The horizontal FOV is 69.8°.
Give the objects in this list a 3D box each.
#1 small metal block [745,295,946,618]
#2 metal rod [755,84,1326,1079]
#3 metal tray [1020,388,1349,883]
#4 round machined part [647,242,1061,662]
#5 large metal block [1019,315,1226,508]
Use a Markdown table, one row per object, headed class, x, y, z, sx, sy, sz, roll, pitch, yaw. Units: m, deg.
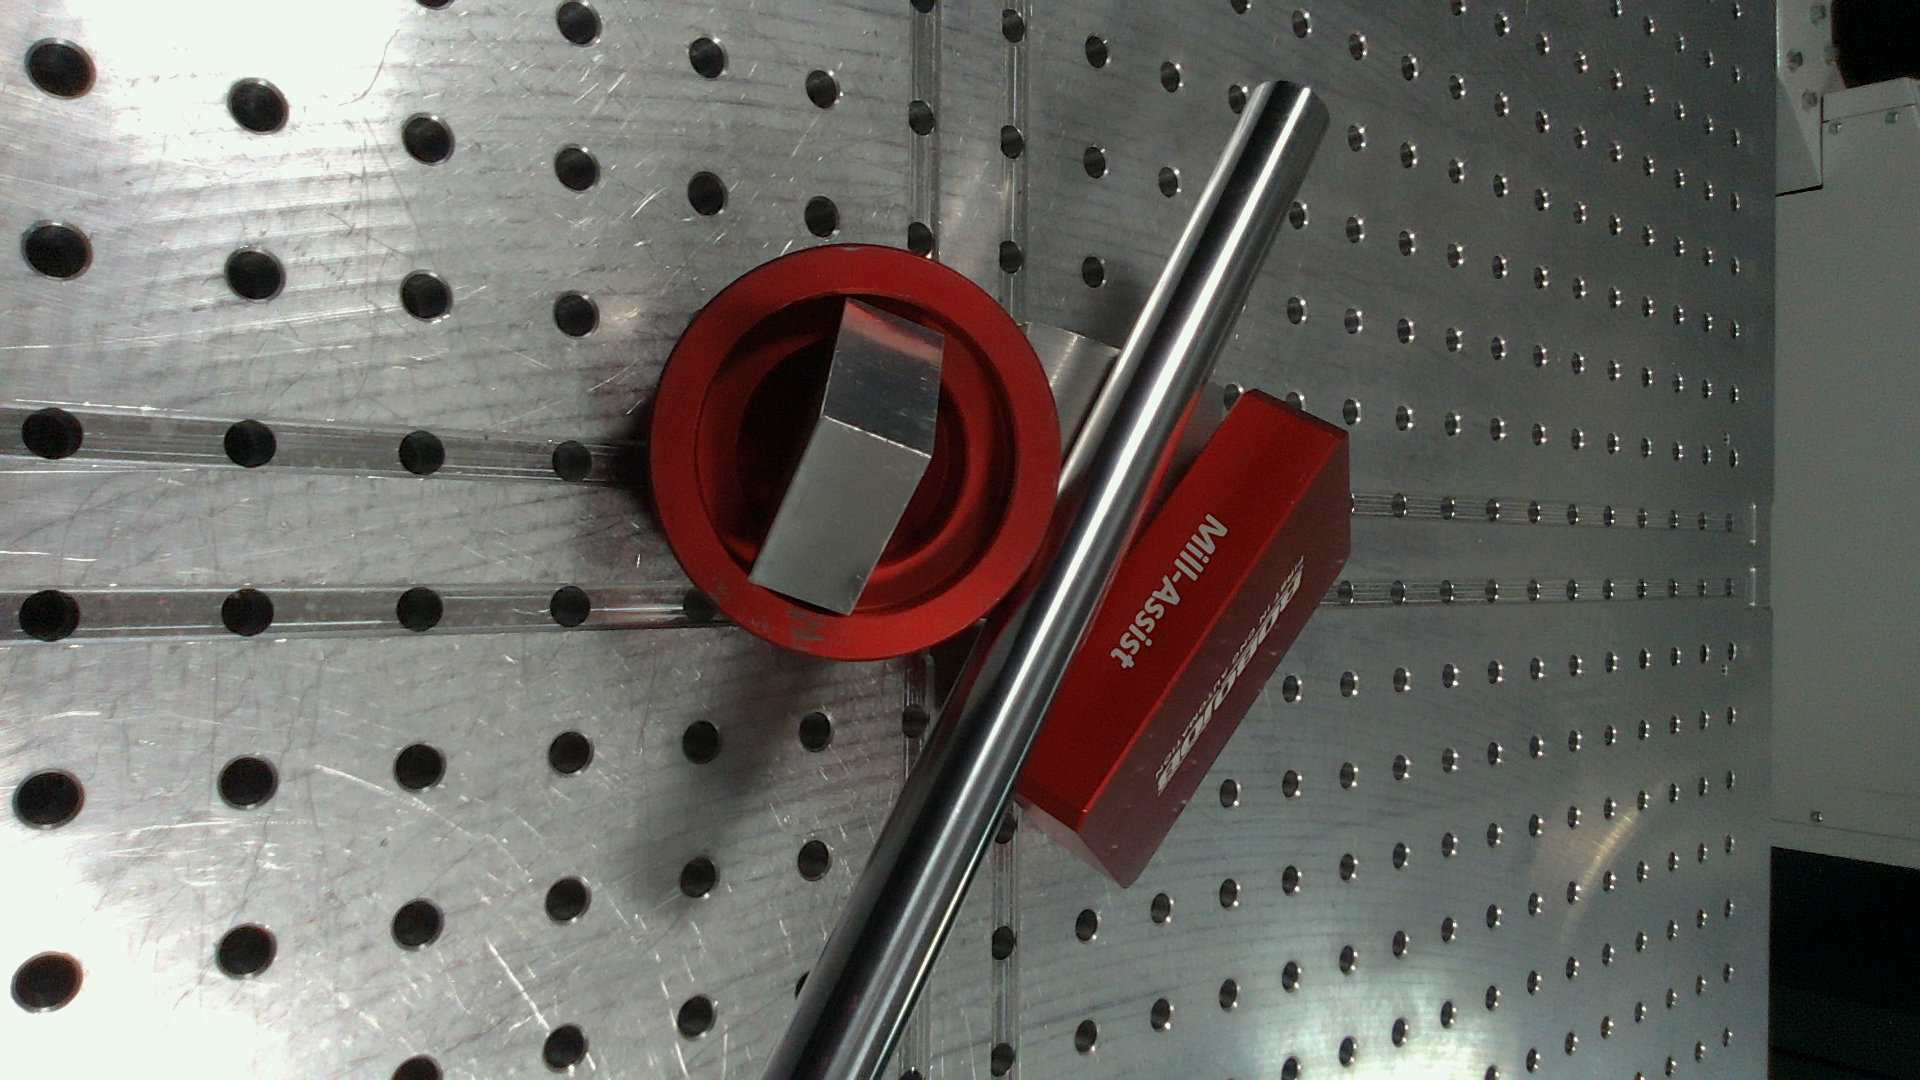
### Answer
| class | x | y | z | sx | sy | sz | roll | pitch | yaw |
| --- | --- | --- | --- | --- | --- | --- | --- | --- | --- |
| small metal block | -0.026 | -0.019 | 0.318 | 0.025 | 0.050 | 0.050 | 20 | 37 | -12 |
| metal rod | 0.031 | -0.001 | 0.353 | 0.025 | 0.025 | 0.300 | 42 | 65 | -32 |
| metal tray | 0.066 | 0.031 | 0.400 | 0.130 | 0.030 | 0.090 | -54 | 154 | -11 |
| round machined part | -0.028 | -0.021 | 0.341 | 0.098 | 0.042 | 0.098 | -1 | 93 | -15 |
| large metal block | 0.028 | -0.013 | 0.398 | 0.080 | 0.050 | 0.080 | 12 | 83 | -39 |
